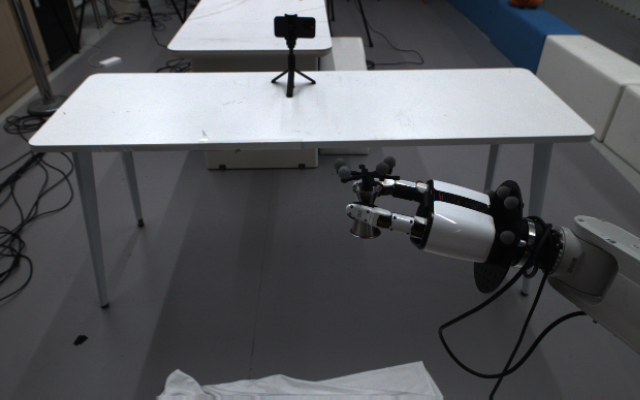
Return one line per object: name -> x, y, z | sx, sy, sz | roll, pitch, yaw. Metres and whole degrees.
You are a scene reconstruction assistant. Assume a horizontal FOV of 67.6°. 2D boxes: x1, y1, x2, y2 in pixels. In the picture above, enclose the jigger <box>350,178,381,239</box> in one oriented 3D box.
jigger -> 0.063, 0.013, 0.671 | 0.043, 0.071, 0.043 | 0, 21, 0
